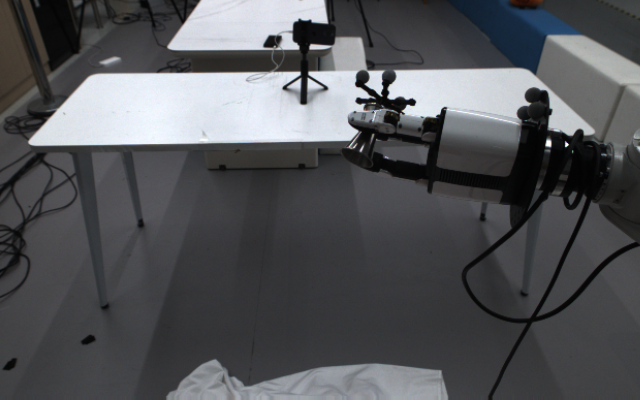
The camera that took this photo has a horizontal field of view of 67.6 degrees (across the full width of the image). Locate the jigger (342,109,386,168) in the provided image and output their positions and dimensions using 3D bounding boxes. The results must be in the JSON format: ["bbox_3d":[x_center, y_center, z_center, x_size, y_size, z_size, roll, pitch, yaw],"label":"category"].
[{"bbox_3d":[0.057,-0.082,0.591,0.043,0.043,0.071,20,73,24],"label":"jigger"}]
